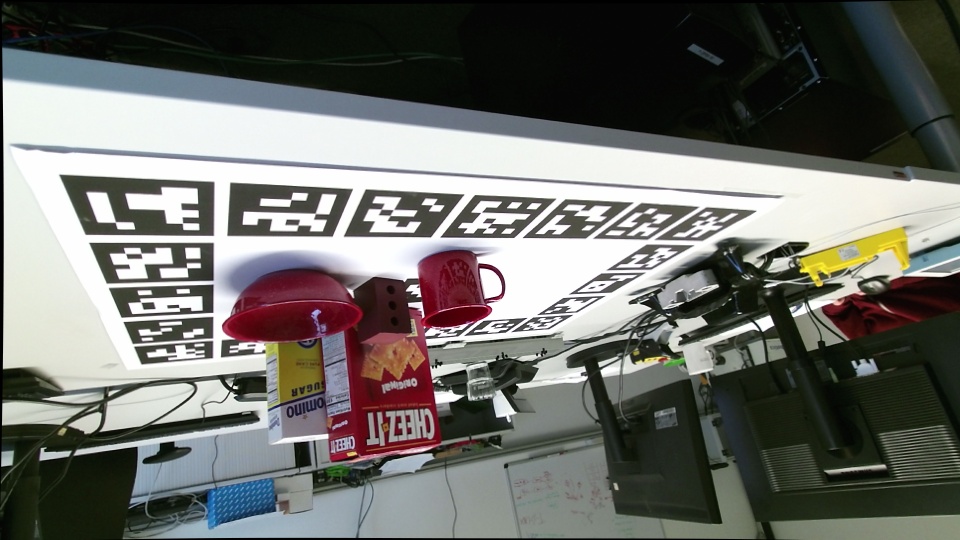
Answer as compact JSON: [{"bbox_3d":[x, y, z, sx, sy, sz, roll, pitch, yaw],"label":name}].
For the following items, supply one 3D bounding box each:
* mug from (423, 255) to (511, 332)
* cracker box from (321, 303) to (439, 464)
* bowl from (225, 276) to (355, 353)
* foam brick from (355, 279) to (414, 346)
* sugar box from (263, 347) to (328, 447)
[{"bbox_3d":[-0.016,0.029,0.690,0.117,0.081,0.093,-6,167,-21],"label":"mug"},{"bbox_3d":[-0.146,0.165,0.793,0.072,0.212,0.165,-22,157,28],"label":"cracker box"},{"bbox_3d":[-0.224,0.051,0.644,0.162,0.055,0.162,-11,158,-4],"label":"bowl"},{"bbox_3d":[-0.131,0.059,0.729,0.053,0.077,0.051,7,153,-43],"label":"foam brick"},{"bbox_3d":[-0.253,0.156,0.757,0.045,0.175,0.093,-28,155,35],"label":"sugar box"}]
